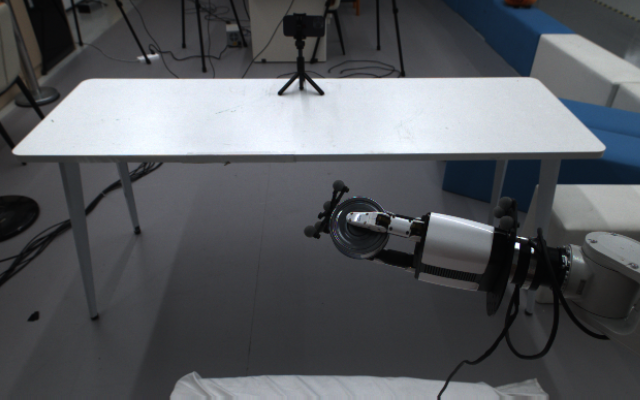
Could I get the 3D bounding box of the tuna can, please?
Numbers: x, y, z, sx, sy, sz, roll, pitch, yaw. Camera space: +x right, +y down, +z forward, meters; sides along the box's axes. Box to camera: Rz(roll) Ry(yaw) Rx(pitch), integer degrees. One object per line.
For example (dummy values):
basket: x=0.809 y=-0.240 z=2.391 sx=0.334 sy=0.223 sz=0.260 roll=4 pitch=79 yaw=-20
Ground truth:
tuna can: x=0.059 y=0.038 z=0.685 sx=0.085 sy=0.034 sz=0.085 roll=-2 pitch=71 yaw=5
